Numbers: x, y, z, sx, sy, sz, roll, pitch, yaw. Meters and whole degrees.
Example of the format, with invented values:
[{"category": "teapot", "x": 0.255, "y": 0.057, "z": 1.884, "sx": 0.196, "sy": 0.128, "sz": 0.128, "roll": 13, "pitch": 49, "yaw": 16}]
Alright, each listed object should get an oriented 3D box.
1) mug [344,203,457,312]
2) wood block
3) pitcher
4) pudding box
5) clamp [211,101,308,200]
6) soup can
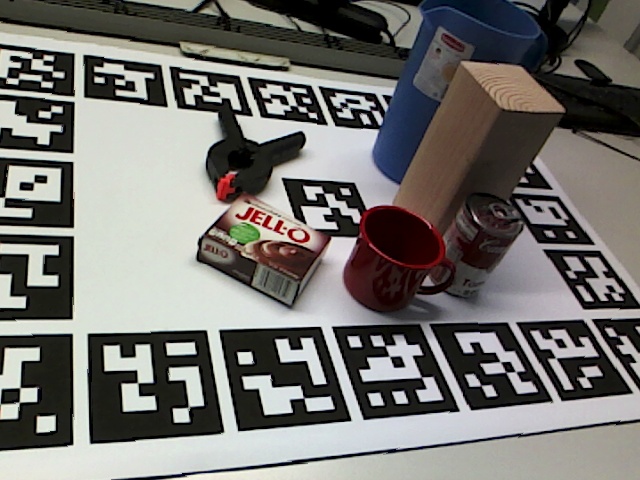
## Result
[{"category": "mug", "x": 0.085, "y": 0.026, "z": 0.649, "sx": 0.117, "sy": 0.081, "sz": 0.093, "roll": 25, "pitch": 38, "yaw": 6}, {"category": "wood block", "x": 0.178, "y": -0.094, "z": 0.721, "sx": 0.089, "sy": 0.206, "sz": 0.091, "roll": 2, "pitch": 44, "yaw": -27}, {"category": "pitcher", "x": 0.175, "y": -0.190, "z": 0.801, "sx": 0.188, "sy": 0.242, "sz": 0.134, "roll": -1, "pitch": 43, "yaw": -20}, {"category": "pudding box", "x": -0.065, "y": 0.005, "z": 0.644, "sx": 0.114, "sy": 0.038, "sz": 0.090, "roll": 27, "pitch": 44, "yaw": 7}, {"category": "clamp", "x": -0.087, "y": -0.105, "z": 0.762, "sx": 0.122, "sy": 0.036, "sz": 0.165, "roll": 27, "pitch": 41, "yaw": -5}, {"category": "soup can", "x": 0.169, "y": 0.006, "z": 0.689, "sx": 0.068, "sy": 0.102, "sz": 0.068, "roll": 12, "pitch": 44, "yaw": -12}]
